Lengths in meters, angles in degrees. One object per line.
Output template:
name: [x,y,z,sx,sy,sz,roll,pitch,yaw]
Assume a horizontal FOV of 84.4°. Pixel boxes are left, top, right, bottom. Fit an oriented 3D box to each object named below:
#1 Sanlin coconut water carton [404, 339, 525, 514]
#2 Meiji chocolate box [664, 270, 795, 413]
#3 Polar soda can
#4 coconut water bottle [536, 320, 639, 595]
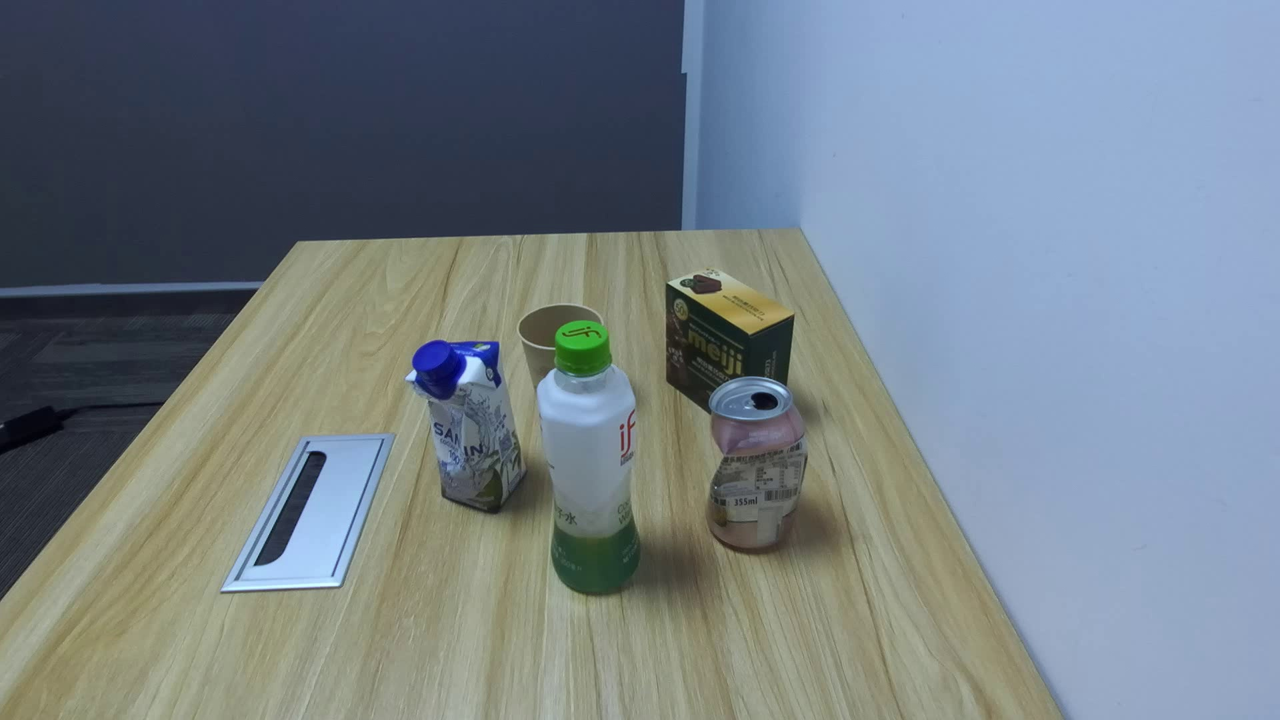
Sanlin coconut water carton: [-0.128,0.041,0.524,0.060,0.144,0.070,12,37,20]
Meiji chocolate box: [0.074,-0.008,0.614,0.056,0.109,0.109,-23,41,-29]
Polar soda can: [0.075,0.072,0.496,0.067,0.122,0.070,-15,36,-12]
coconut water bottle: [-0.032,0.063,0.446,0.063,0.189,0.063,-1,34,1]
